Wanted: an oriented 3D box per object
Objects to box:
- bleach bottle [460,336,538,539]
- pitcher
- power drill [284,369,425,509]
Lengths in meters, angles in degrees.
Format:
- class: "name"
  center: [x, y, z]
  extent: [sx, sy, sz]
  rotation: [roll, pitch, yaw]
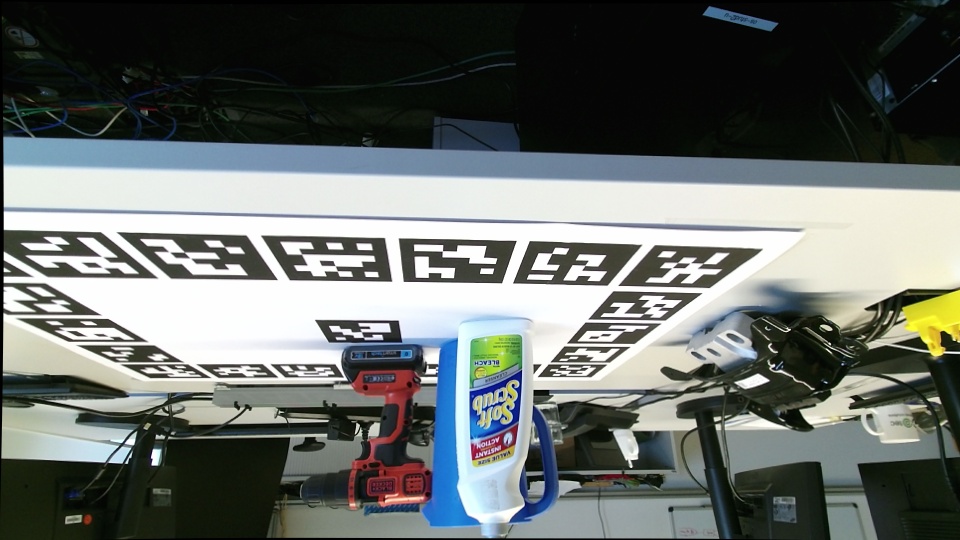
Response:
- class: "bleach bottle"
  center: [0.028, 0.207, 0.634]
  extent: [0.103, 0.249, 0.068]
  rotation: [-4, 153, 1]
- class: "pitcher"
  center: [0.008, 0.234, 0.733]
  extent: [0.189, 0.241, 0.133]
  rotation: [-13, 151, 19]
- class: "power drill"
  center: [-0.161, 0.234, 0.739]
  extent: [0.185, 0.186, 0.057]
  rotation: [3, 151, 3]
